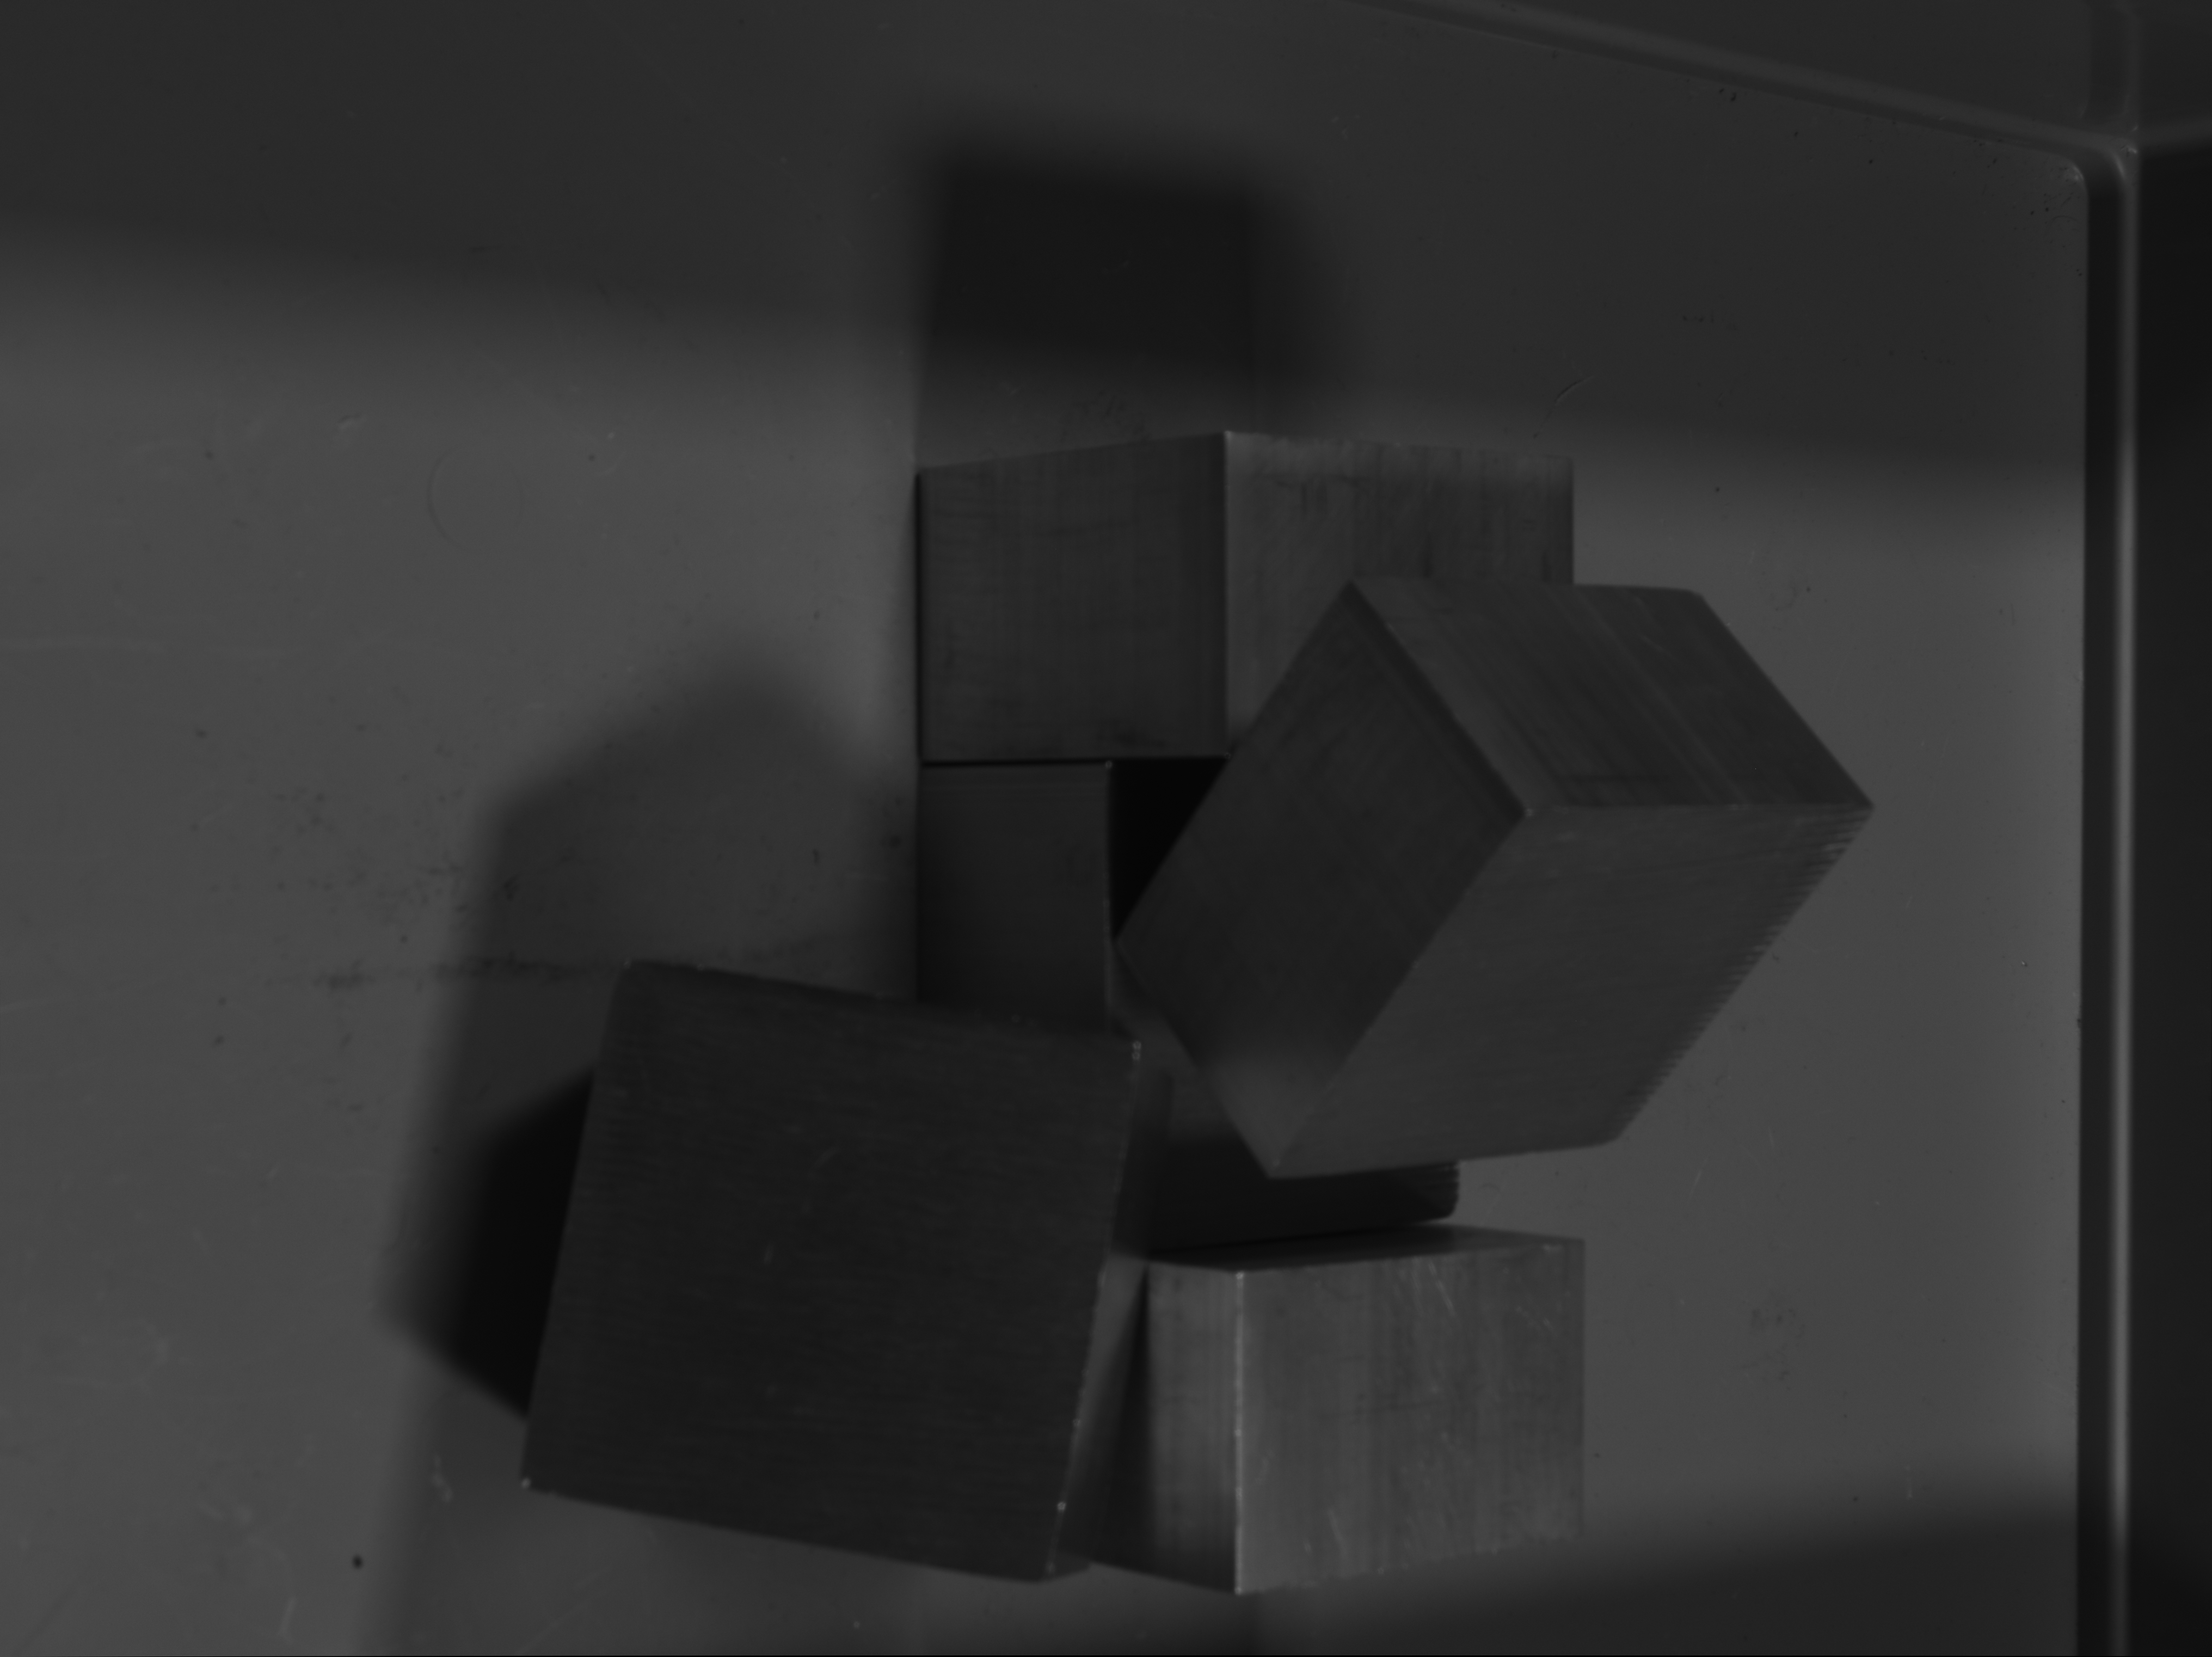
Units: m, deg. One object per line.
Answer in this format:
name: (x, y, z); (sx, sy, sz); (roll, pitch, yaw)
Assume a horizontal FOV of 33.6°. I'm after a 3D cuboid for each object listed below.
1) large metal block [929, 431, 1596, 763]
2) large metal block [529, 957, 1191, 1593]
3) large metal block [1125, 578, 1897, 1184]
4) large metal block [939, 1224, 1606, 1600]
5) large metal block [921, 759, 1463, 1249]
large metal block: (0.026, -0.037, 0.621); (0.080, 0.080, 0.050); (-1, 91, -40)
large metal block: (-0.035, 0.068, 0.560); (0.050, 0.080, 0.080); (54, 46, -79)
large metal block: (0.063, 0.008, 0.580); (0.080, 0.050, 0.080); (-1, 136, -40)
large metal block: (0.028, 0.095, 0.622); (0.080, 0.080, 0.050); (1, 89, -40)
large metal block: (0.015, 0.028, 0.635); (0.080, 0.050, 0.080); (-1, 90, -40)
